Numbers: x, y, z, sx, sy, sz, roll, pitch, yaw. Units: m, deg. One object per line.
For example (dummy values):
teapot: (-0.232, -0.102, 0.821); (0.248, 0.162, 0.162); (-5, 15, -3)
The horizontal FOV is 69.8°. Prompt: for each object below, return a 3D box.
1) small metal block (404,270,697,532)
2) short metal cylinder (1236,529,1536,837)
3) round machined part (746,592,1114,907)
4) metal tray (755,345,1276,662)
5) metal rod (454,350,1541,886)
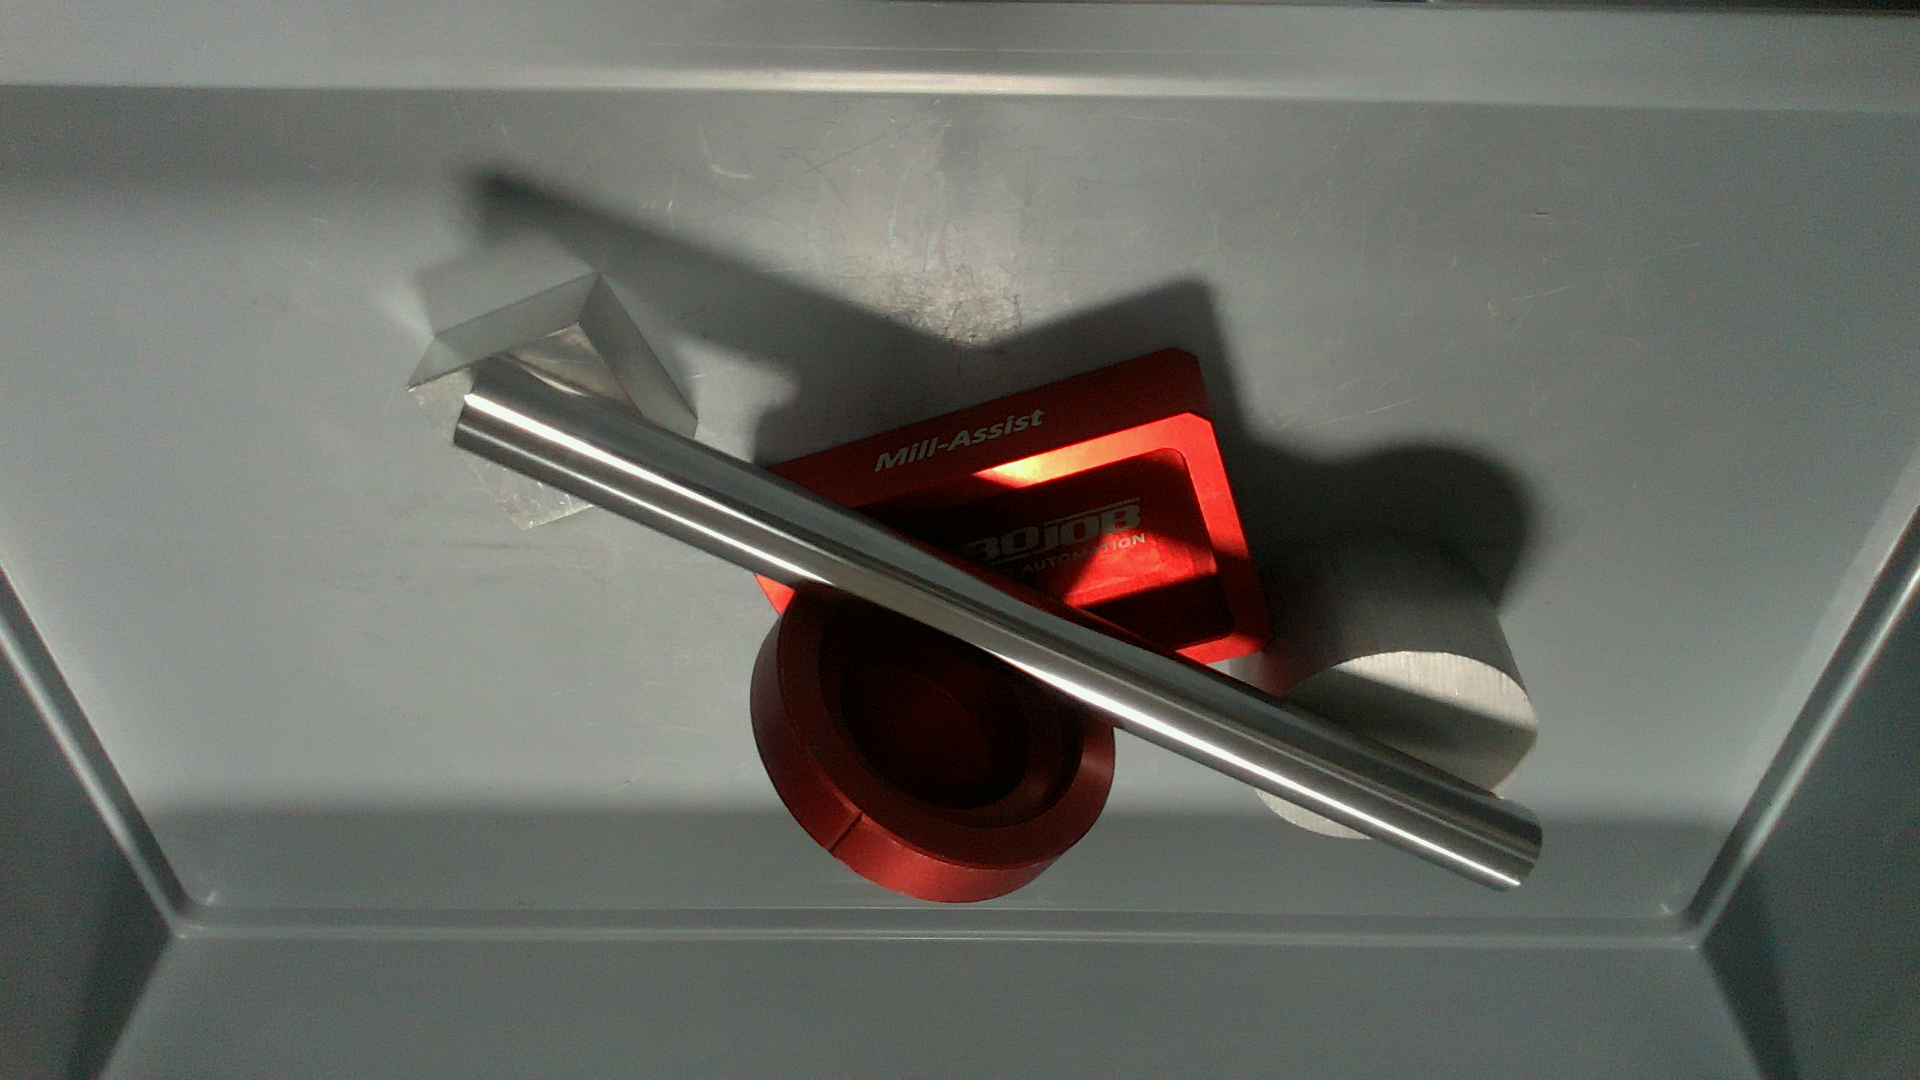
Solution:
small metal block: (-0.105, -0.035, 0.359); (0.050, 0.025, 0.050); (-17, 128, 14)
short metal cylinder: (0.123, 0.043, 0.410); (0.080, 0.050, 0.080); (0, 130, 0)
round machined part: (-0.011, 0.052, 0.368); (0.098, 0.098, 0.042); (22, 135, -17)
metal tray: (0.015, 0.006, 0.390); (0.130, 0.030, 0.090); (-15, 129, 12)
metal rod: (0.020, 0.026, 0.357); (0.300, 0.025, 0.025); (24, 126, -11)
